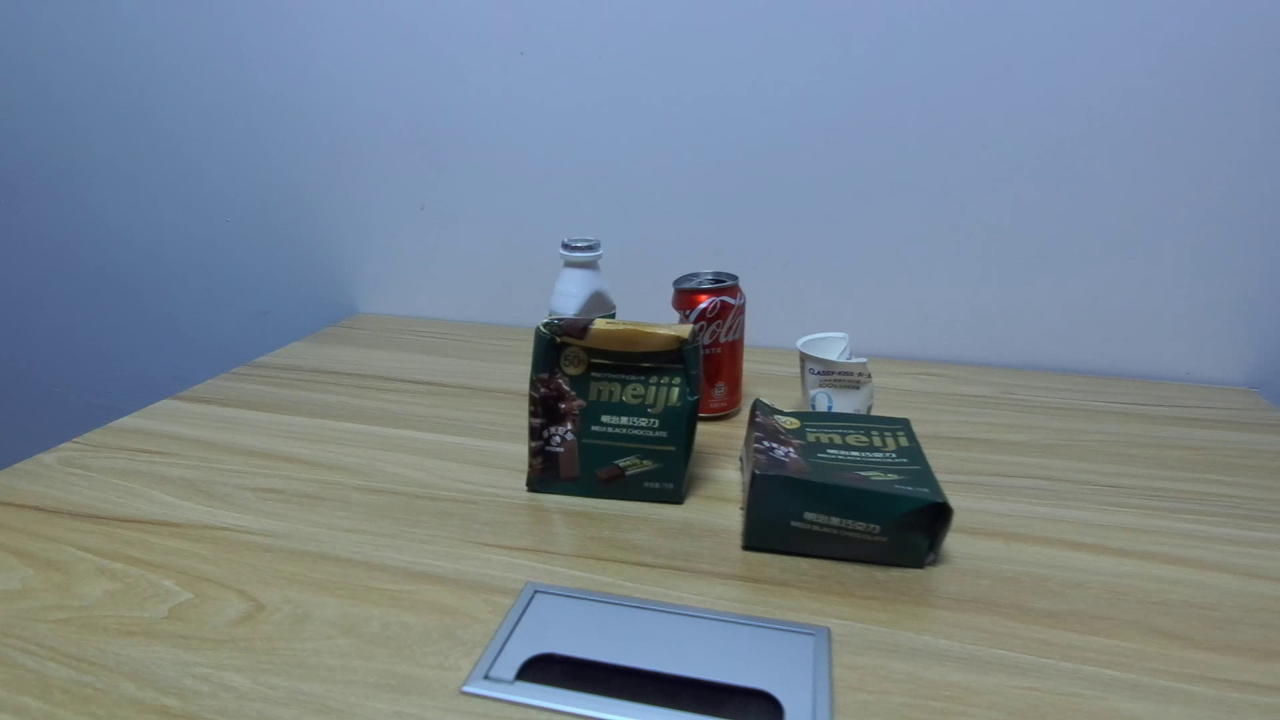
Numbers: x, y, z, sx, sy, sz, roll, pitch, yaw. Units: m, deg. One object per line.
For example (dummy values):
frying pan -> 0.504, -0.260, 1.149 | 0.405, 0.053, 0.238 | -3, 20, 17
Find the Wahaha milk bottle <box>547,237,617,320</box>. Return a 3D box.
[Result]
Wahaha milk bottle -> -0.046, -0.023, 0.569 | 0.056, 0.147, 0.056 | 2, 18, 0

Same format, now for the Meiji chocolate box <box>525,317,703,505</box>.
Meiji chocolate box -> -0.016, 0.031, 0.474 | 0.117, 0.117, 0.052 | 3, 11, 9

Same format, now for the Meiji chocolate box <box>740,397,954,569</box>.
Meiji chocolate box -> 0.122, 0.075, 0.443 | 0.115, 0.058, 0.122 | 6, 20, 8

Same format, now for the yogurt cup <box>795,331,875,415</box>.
yogurt cup -> 0.157, 0.021, 0.568 | 0.067, 0.070, 0.067 | 0, 22, 0

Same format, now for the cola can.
cola can -> 0.057, -0.013, 0.592 | 0.065, 0.117, 0.072 | 4, 20, 2
